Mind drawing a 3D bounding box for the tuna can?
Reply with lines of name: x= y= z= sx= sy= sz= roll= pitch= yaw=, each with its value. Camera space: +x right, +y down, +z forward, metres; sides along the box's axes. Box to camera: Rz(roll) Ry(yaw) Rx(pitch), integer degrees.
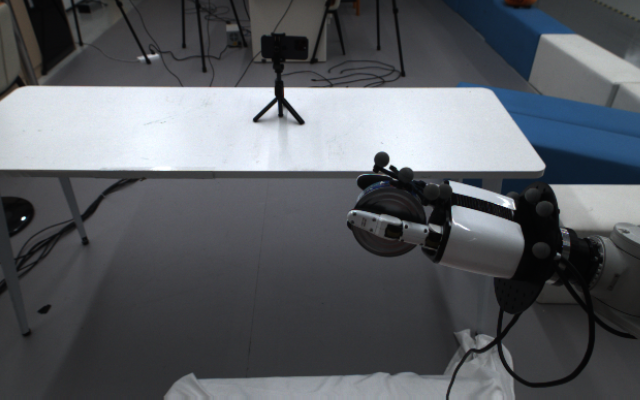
tuna can: x=0.082 y=0.019 z=0.568 sx=0.085 sy=0.085 sz=0.034 roll=7 pitch=17 yaw=7
